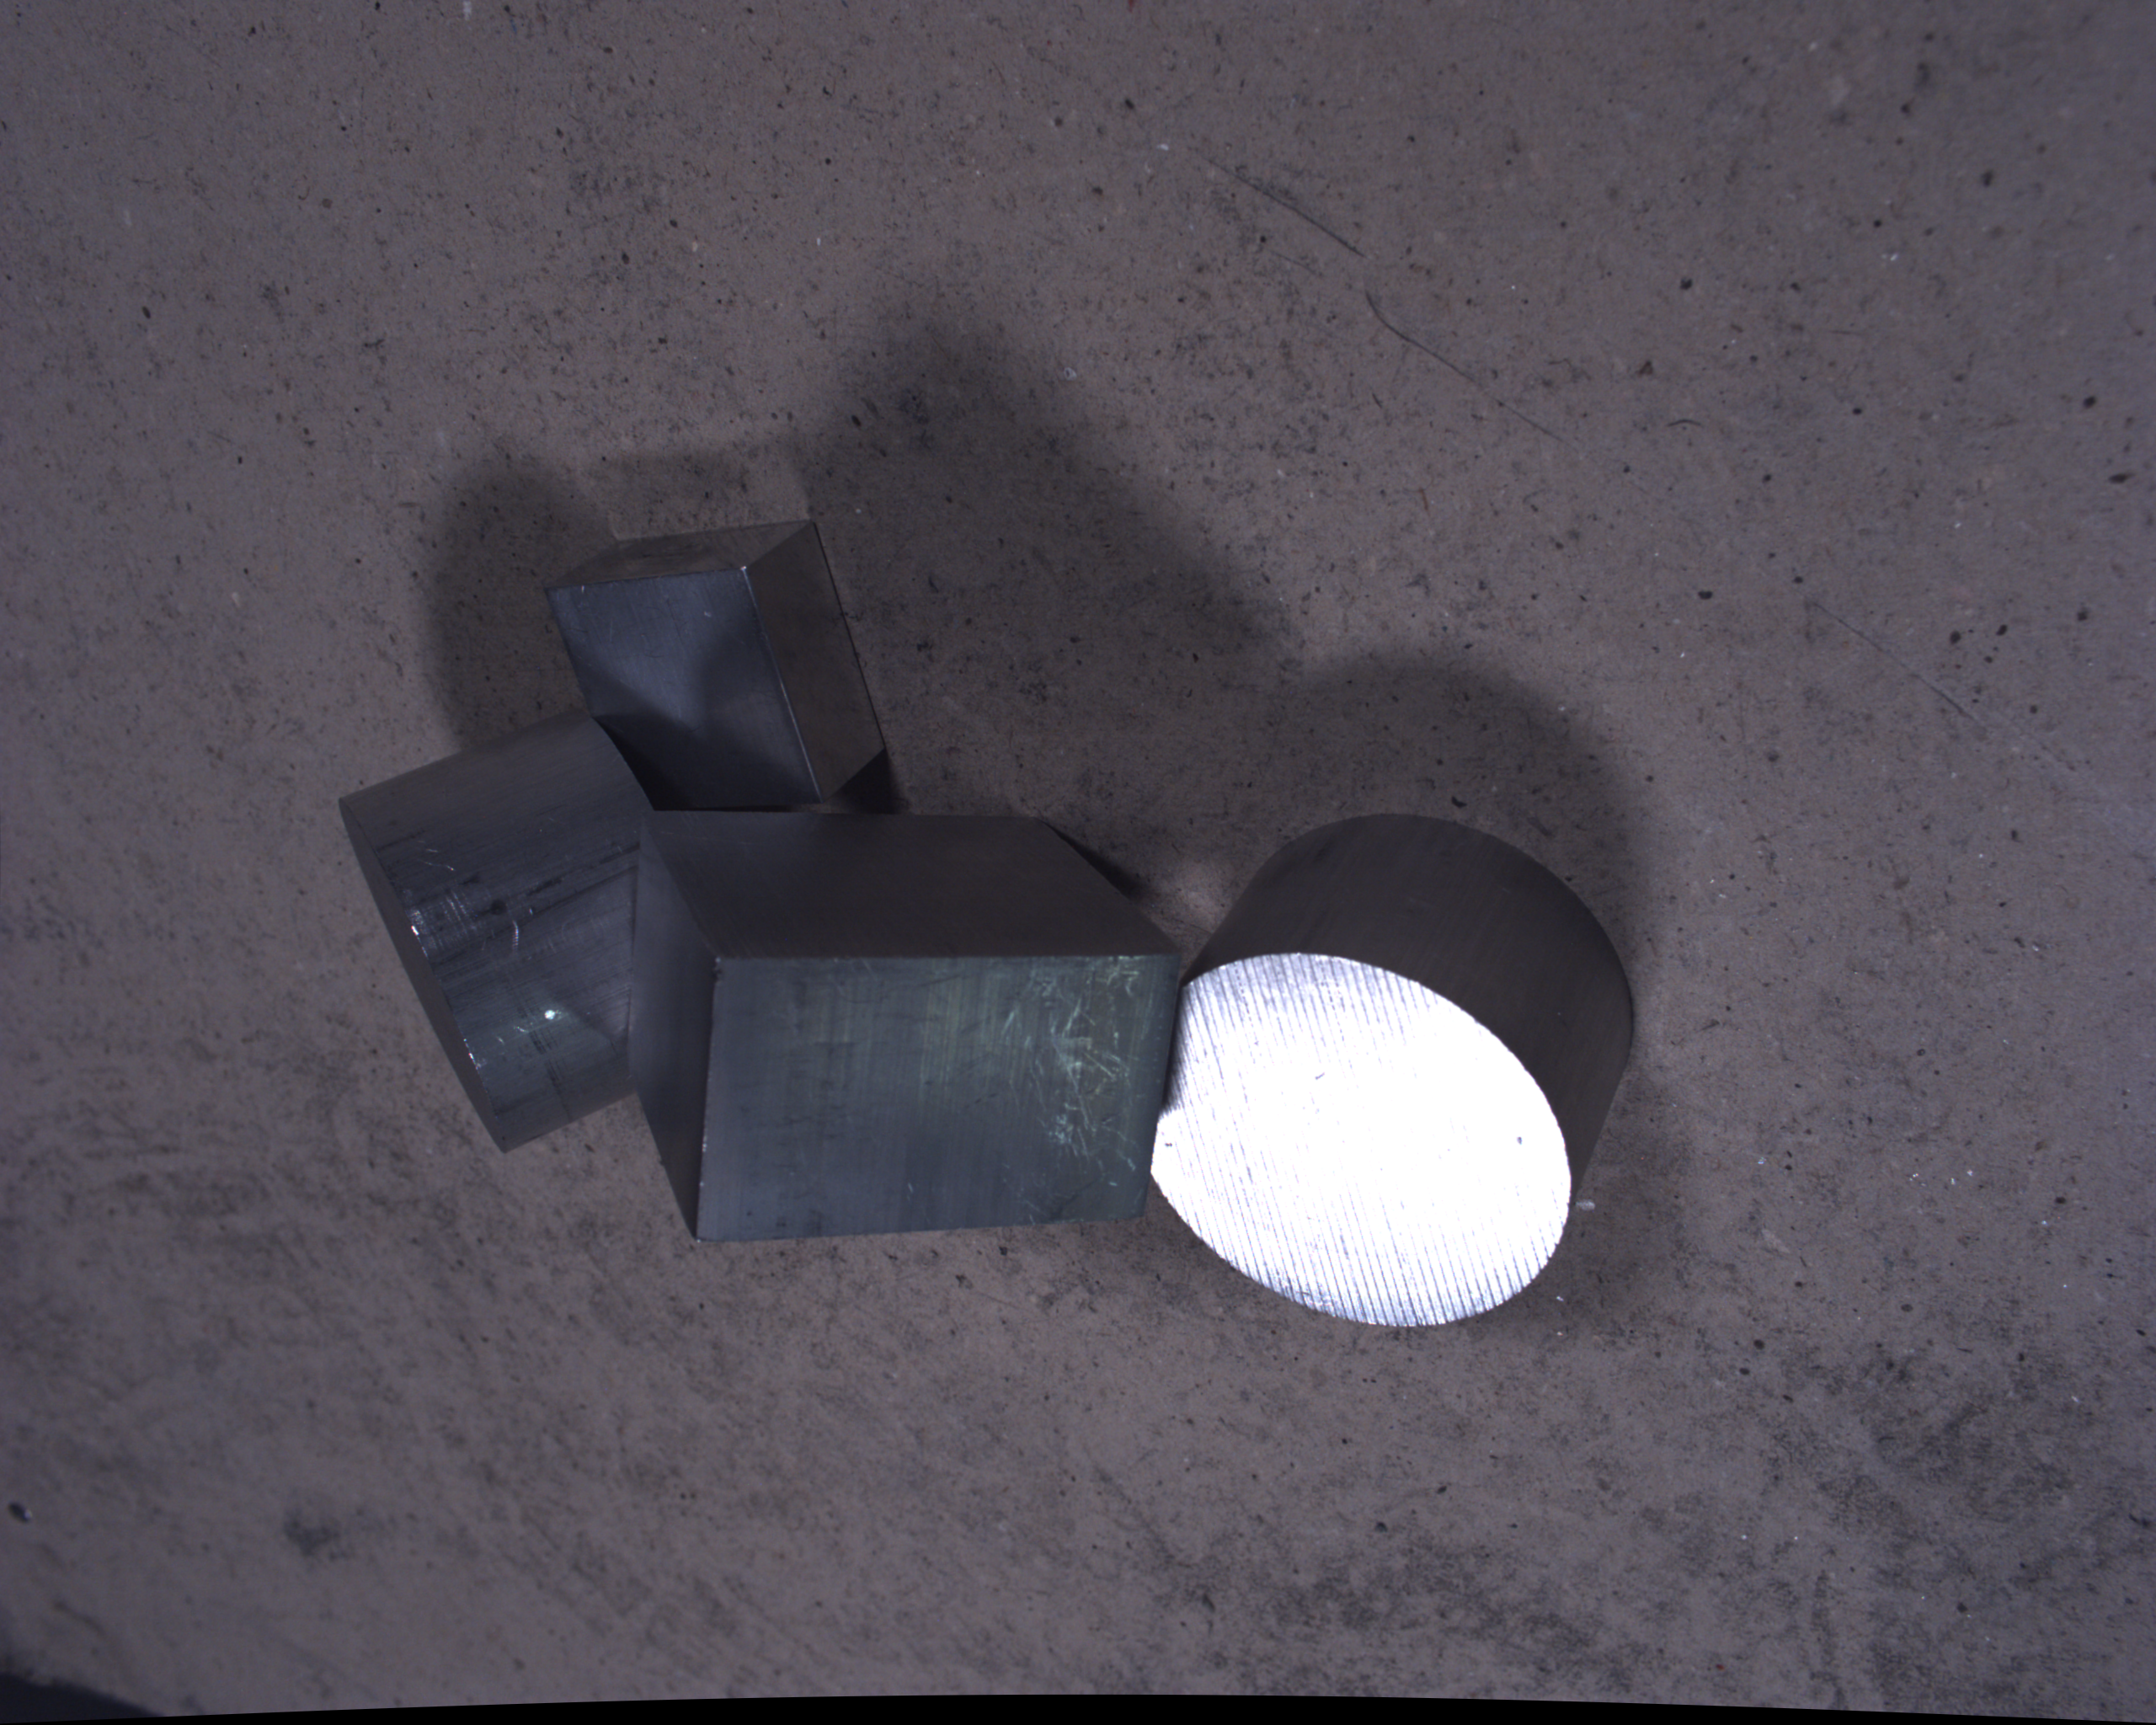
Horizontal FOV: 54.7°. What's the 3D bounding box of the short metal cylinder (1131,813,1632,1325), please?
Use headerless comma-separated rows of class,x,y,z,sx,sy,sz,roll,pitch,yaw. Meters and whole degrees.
short metal cylinder,0.056,0.038,0.385,0.080,0.050,0.079,13,124,20

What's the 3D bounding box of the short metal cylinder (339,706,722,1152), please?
short metal cylinder,-0.113,0.013,0.435,0.080,0.050,0.080,50,155,35

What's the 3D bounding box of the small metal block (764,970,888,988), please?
small metal block,-0.052,0.039,0.458,0.050,0.025,0.050,3,120,26

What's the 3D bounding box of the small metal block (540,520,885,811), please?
small metal block,-0.073,-0.039,0.421,0.050,0.025,0.050,-1,118,28

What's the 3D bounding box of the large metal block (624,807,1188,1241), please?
large metal block,-0.035,0.026,0.382,0.081,0.080,0.050,1,108,-21
